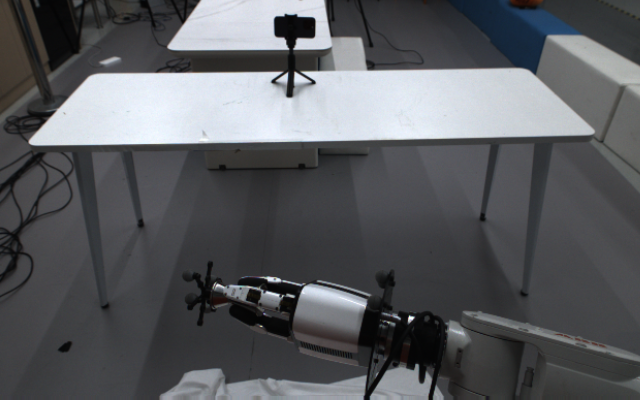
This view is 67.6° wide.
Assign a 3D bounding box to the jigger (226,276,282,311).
[{"bbox_3d":[-0.102,0.128,0.662,0.071,0.043,0.043,3,34,14],"label":"jigger"}]
